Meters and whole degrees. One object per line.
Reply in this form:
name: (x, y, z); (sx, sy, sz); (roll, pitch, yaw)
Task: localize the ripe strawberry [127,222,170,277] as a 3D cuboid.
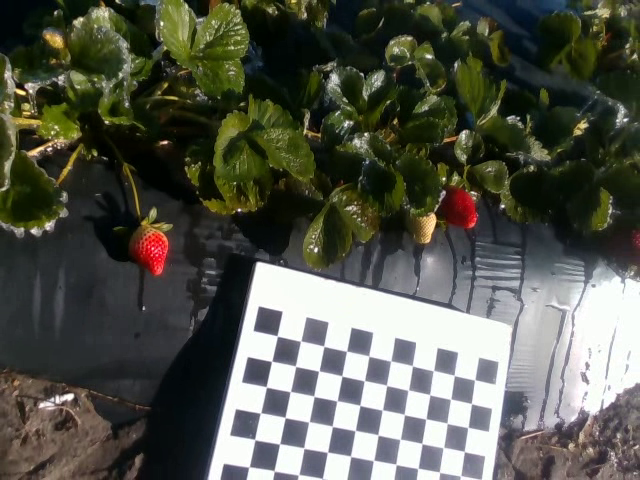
ripe strawberry: (-0.151, 0.011, 0.532); (0.039, 0.053, 0.041); (-8, -22, -18)
